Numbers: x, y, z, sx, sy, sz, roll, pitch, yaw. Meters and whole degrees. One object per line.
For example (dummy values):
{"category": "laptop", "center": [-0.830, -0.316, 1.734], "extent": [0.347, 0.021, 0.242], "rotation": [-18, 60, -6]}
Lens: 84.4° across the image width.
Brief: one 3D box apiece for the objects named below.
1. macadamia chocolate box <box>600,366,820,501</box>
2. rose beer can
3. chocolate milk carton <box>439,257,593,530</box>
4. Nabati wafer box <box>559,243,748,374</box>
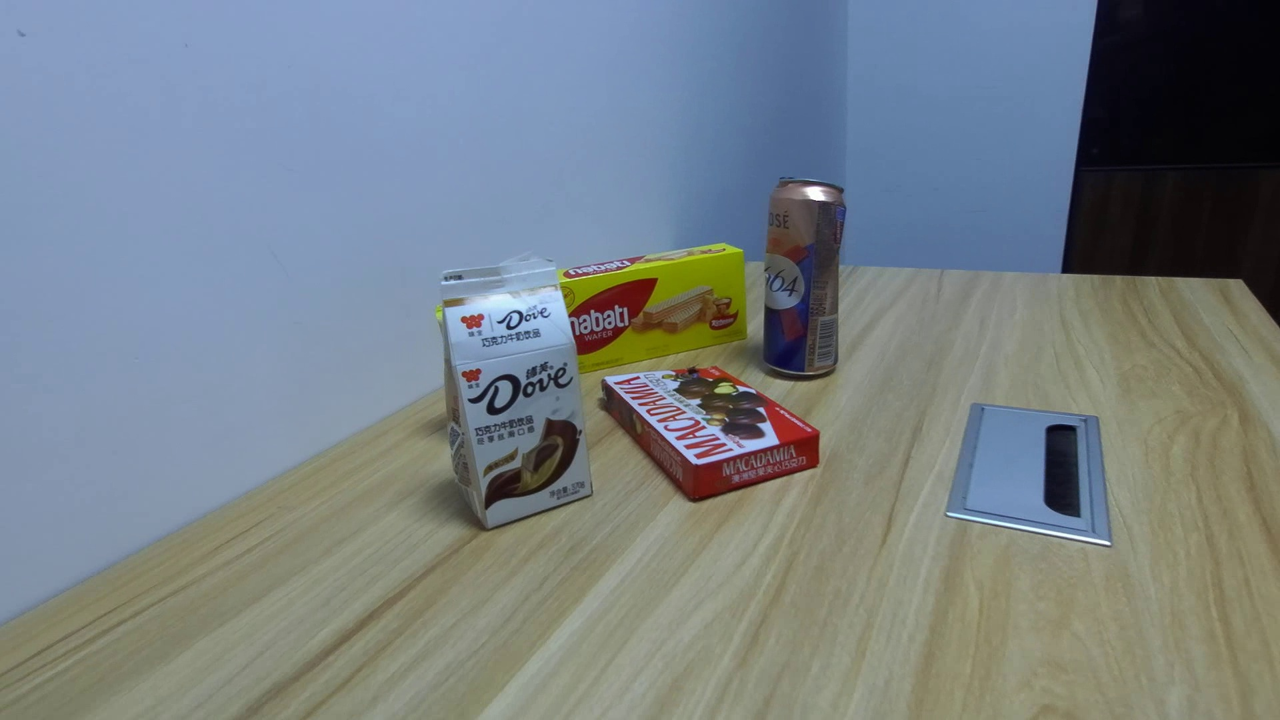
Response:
{"category": "macadamia chocolate box", "center": [0.044, 0.040, 0.529], "extent": [0.103, 0.027, 0.186], "rotation": [-11, 22, -20]}
{"category": "rose beer can", "center": [0.140, -0.069, 0.601], "extent": [0.069, 0.168, 0.070], "rotation": [8, 19, 25]}
{"category": "chocolate milk carton", "center": [-0.085, 0.015, 0.446], "extent": [0.084, 0.155, 0.072], "rotation": [-15, 23, -22]}
{"category": "Nabati wafer box", "center": [0.006, -0.050, 0.683], "extent": [0.203, 0.093, 0.042], "rotation": [-12, 20, -17]}
